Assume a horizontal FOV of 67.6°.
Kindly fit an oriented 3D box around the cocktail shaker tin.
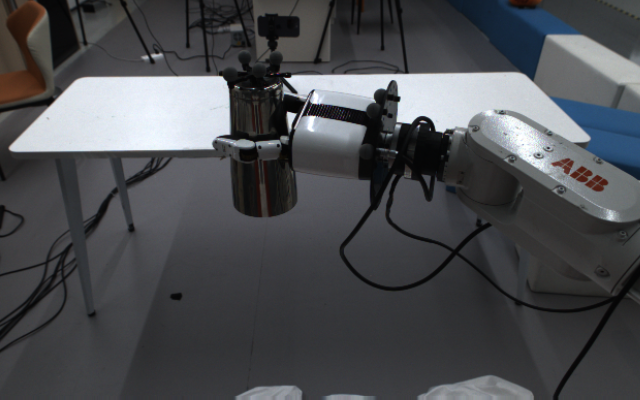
[{"bbox_3d":[-0.076,-0.074,0.634,0.093,0.170,0.093,0,33,0],"label":"cocktail shaker tin"}]
